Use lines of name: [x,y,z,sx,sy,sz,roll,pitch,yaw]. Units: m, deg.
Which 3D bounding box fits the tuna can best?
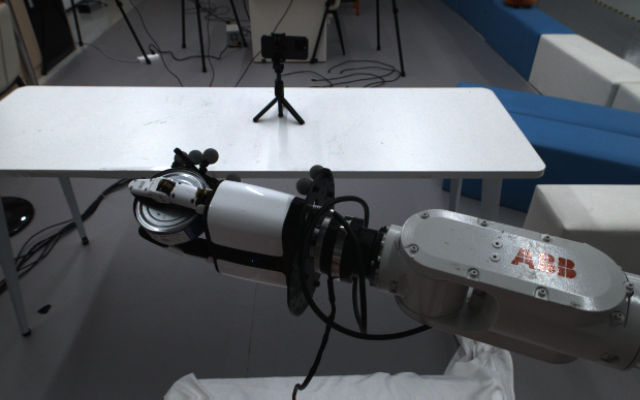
tuna can: [-0.163,0.006,0.550,0.085,0.034,0.085,-4,56,6]
